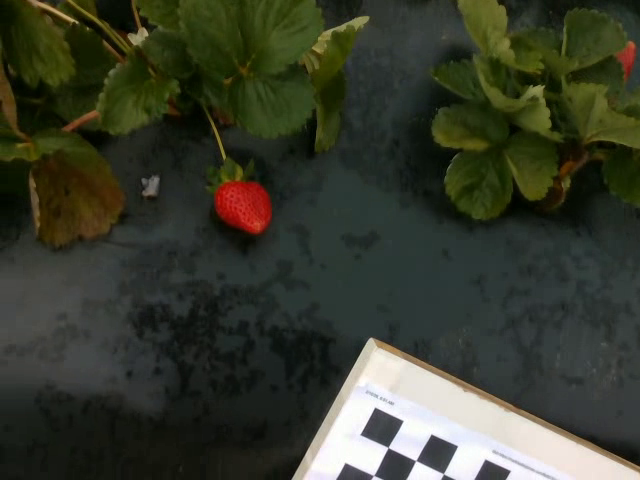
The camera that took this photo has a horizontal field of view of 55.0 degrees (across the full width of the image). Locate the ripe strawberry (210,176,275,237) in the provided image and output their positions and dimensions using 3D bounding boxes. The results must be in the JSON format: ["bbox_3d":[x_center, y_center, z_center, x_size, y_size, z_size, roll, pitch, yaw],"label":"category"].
[{"bbox_3d":[-0.054,-0.022,0.440,0.045,0.053,0.048,-24,-36,1],"label":"ripe strawberry"}]
